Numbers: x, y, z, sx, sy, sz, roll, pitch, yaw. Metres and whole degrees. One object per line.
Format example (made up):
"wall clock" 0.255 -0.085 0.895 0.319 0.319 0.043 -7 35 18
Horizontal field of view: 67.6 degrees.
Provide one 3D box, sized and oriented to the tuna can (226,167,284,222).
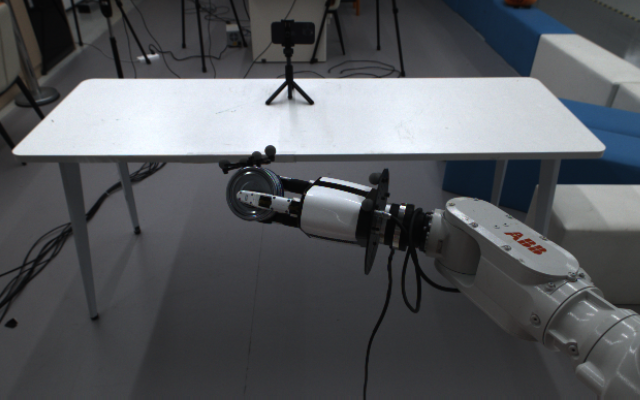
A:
"tuna can" -0.098 -0.003 0.746 0.085 0.085 0.034 12 3 14
